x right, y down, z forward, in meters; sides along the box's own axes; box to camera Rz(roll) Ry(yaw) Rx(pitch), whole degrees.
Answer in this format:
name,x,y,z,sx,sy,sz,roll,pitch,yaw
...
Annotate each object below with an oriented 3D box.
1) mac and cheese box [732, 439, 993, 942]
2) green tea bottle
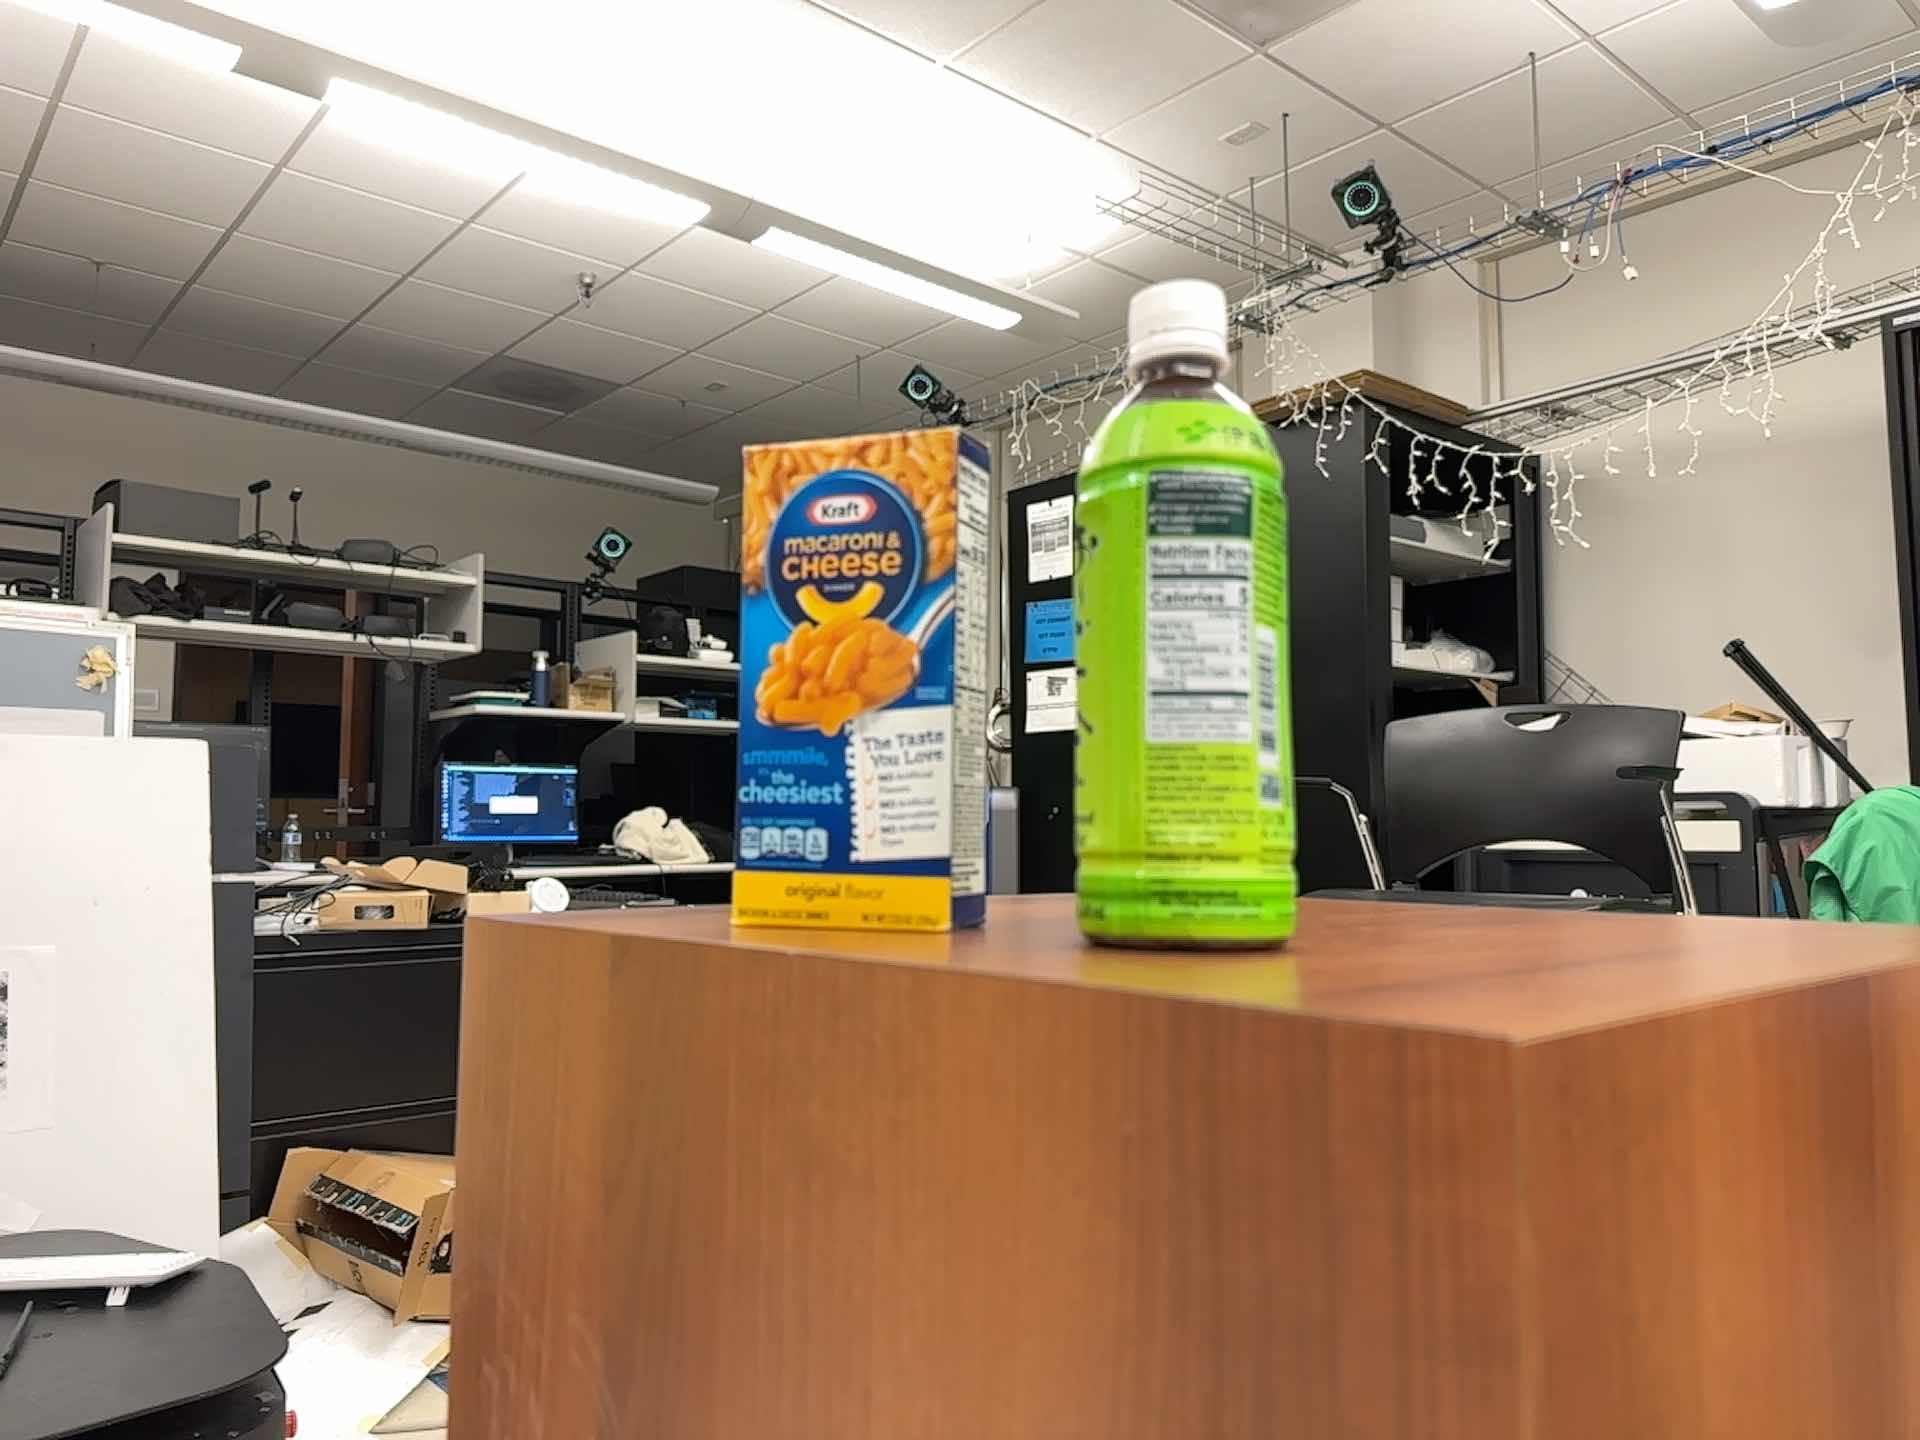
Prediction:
name,x,y,z,sx,sy,sz,roll,pitch,yaw
mac and cheese box,-0.036,-0.009,0.515,0.088,0.181,0.035,-3,-8,25
green tea bottle,0.070,-0.035,0.435,0.073,0.212,0.073,3,-7,0
